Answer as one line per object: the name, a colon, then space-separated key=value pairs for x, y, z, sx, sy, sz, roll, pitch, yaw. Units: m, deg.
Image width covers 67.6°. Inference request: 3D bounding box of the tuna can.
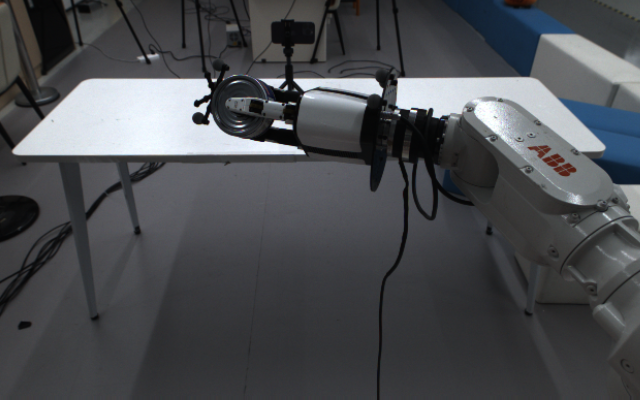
tuna can: x=-0.104 y=-0.130 z=0.666 sx=0.085 sy=0.085 sz=0.034 roll=12 pitch=5 yaw=14
